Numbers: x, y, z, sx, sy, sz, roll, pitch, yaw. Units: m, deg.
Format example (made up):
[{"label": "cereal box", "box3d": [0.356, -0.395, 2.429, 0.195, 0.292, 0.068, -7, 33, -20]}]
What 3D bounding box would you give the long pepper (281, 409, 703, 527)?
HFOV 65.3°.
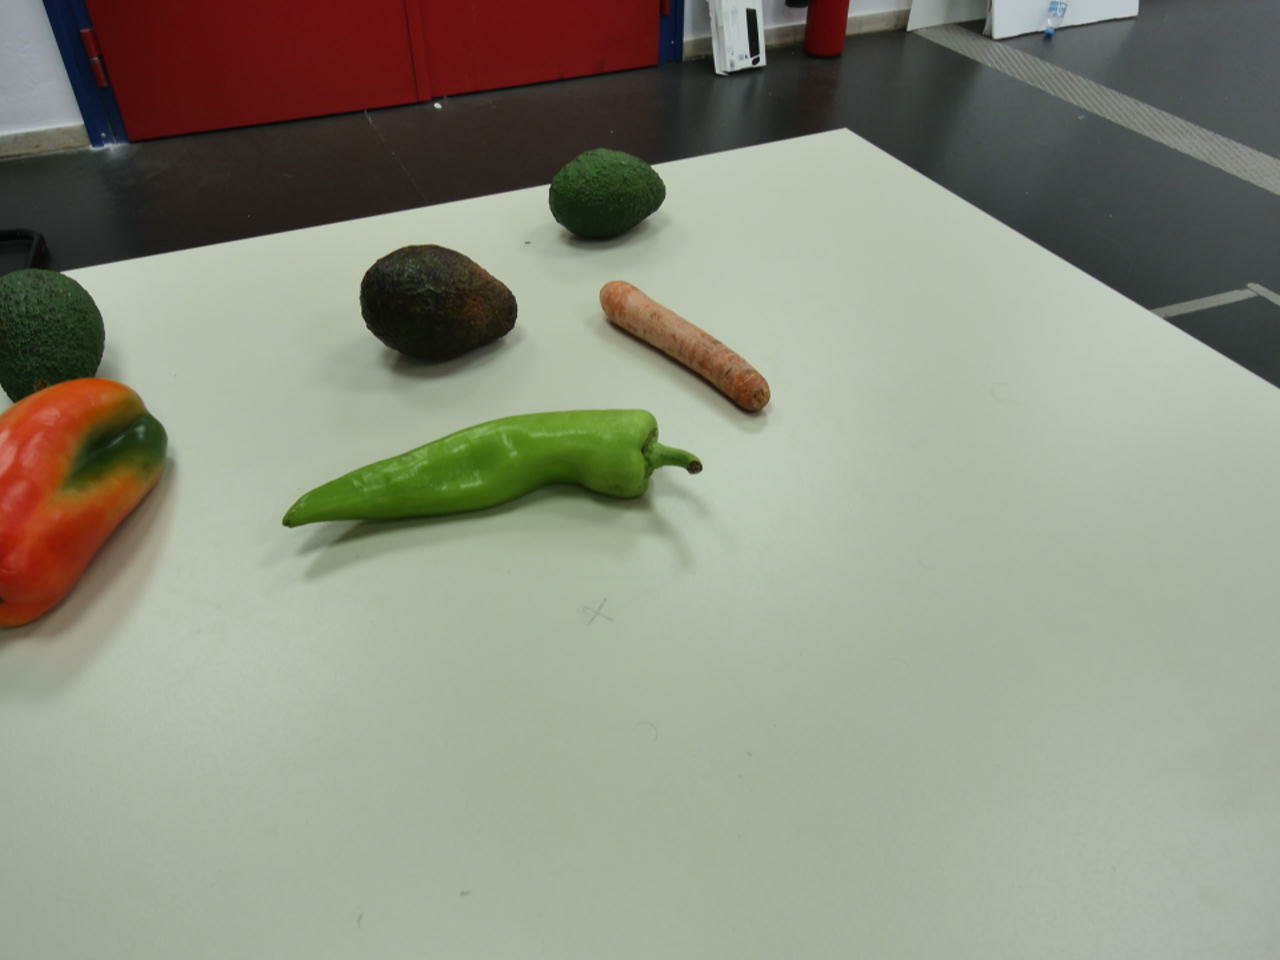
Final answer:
[{"label": "long pepper", "box3d": [-0.073, -0.007, 0.510, 0.204, 0.045, 0.065, -5, 39, -8]}]
